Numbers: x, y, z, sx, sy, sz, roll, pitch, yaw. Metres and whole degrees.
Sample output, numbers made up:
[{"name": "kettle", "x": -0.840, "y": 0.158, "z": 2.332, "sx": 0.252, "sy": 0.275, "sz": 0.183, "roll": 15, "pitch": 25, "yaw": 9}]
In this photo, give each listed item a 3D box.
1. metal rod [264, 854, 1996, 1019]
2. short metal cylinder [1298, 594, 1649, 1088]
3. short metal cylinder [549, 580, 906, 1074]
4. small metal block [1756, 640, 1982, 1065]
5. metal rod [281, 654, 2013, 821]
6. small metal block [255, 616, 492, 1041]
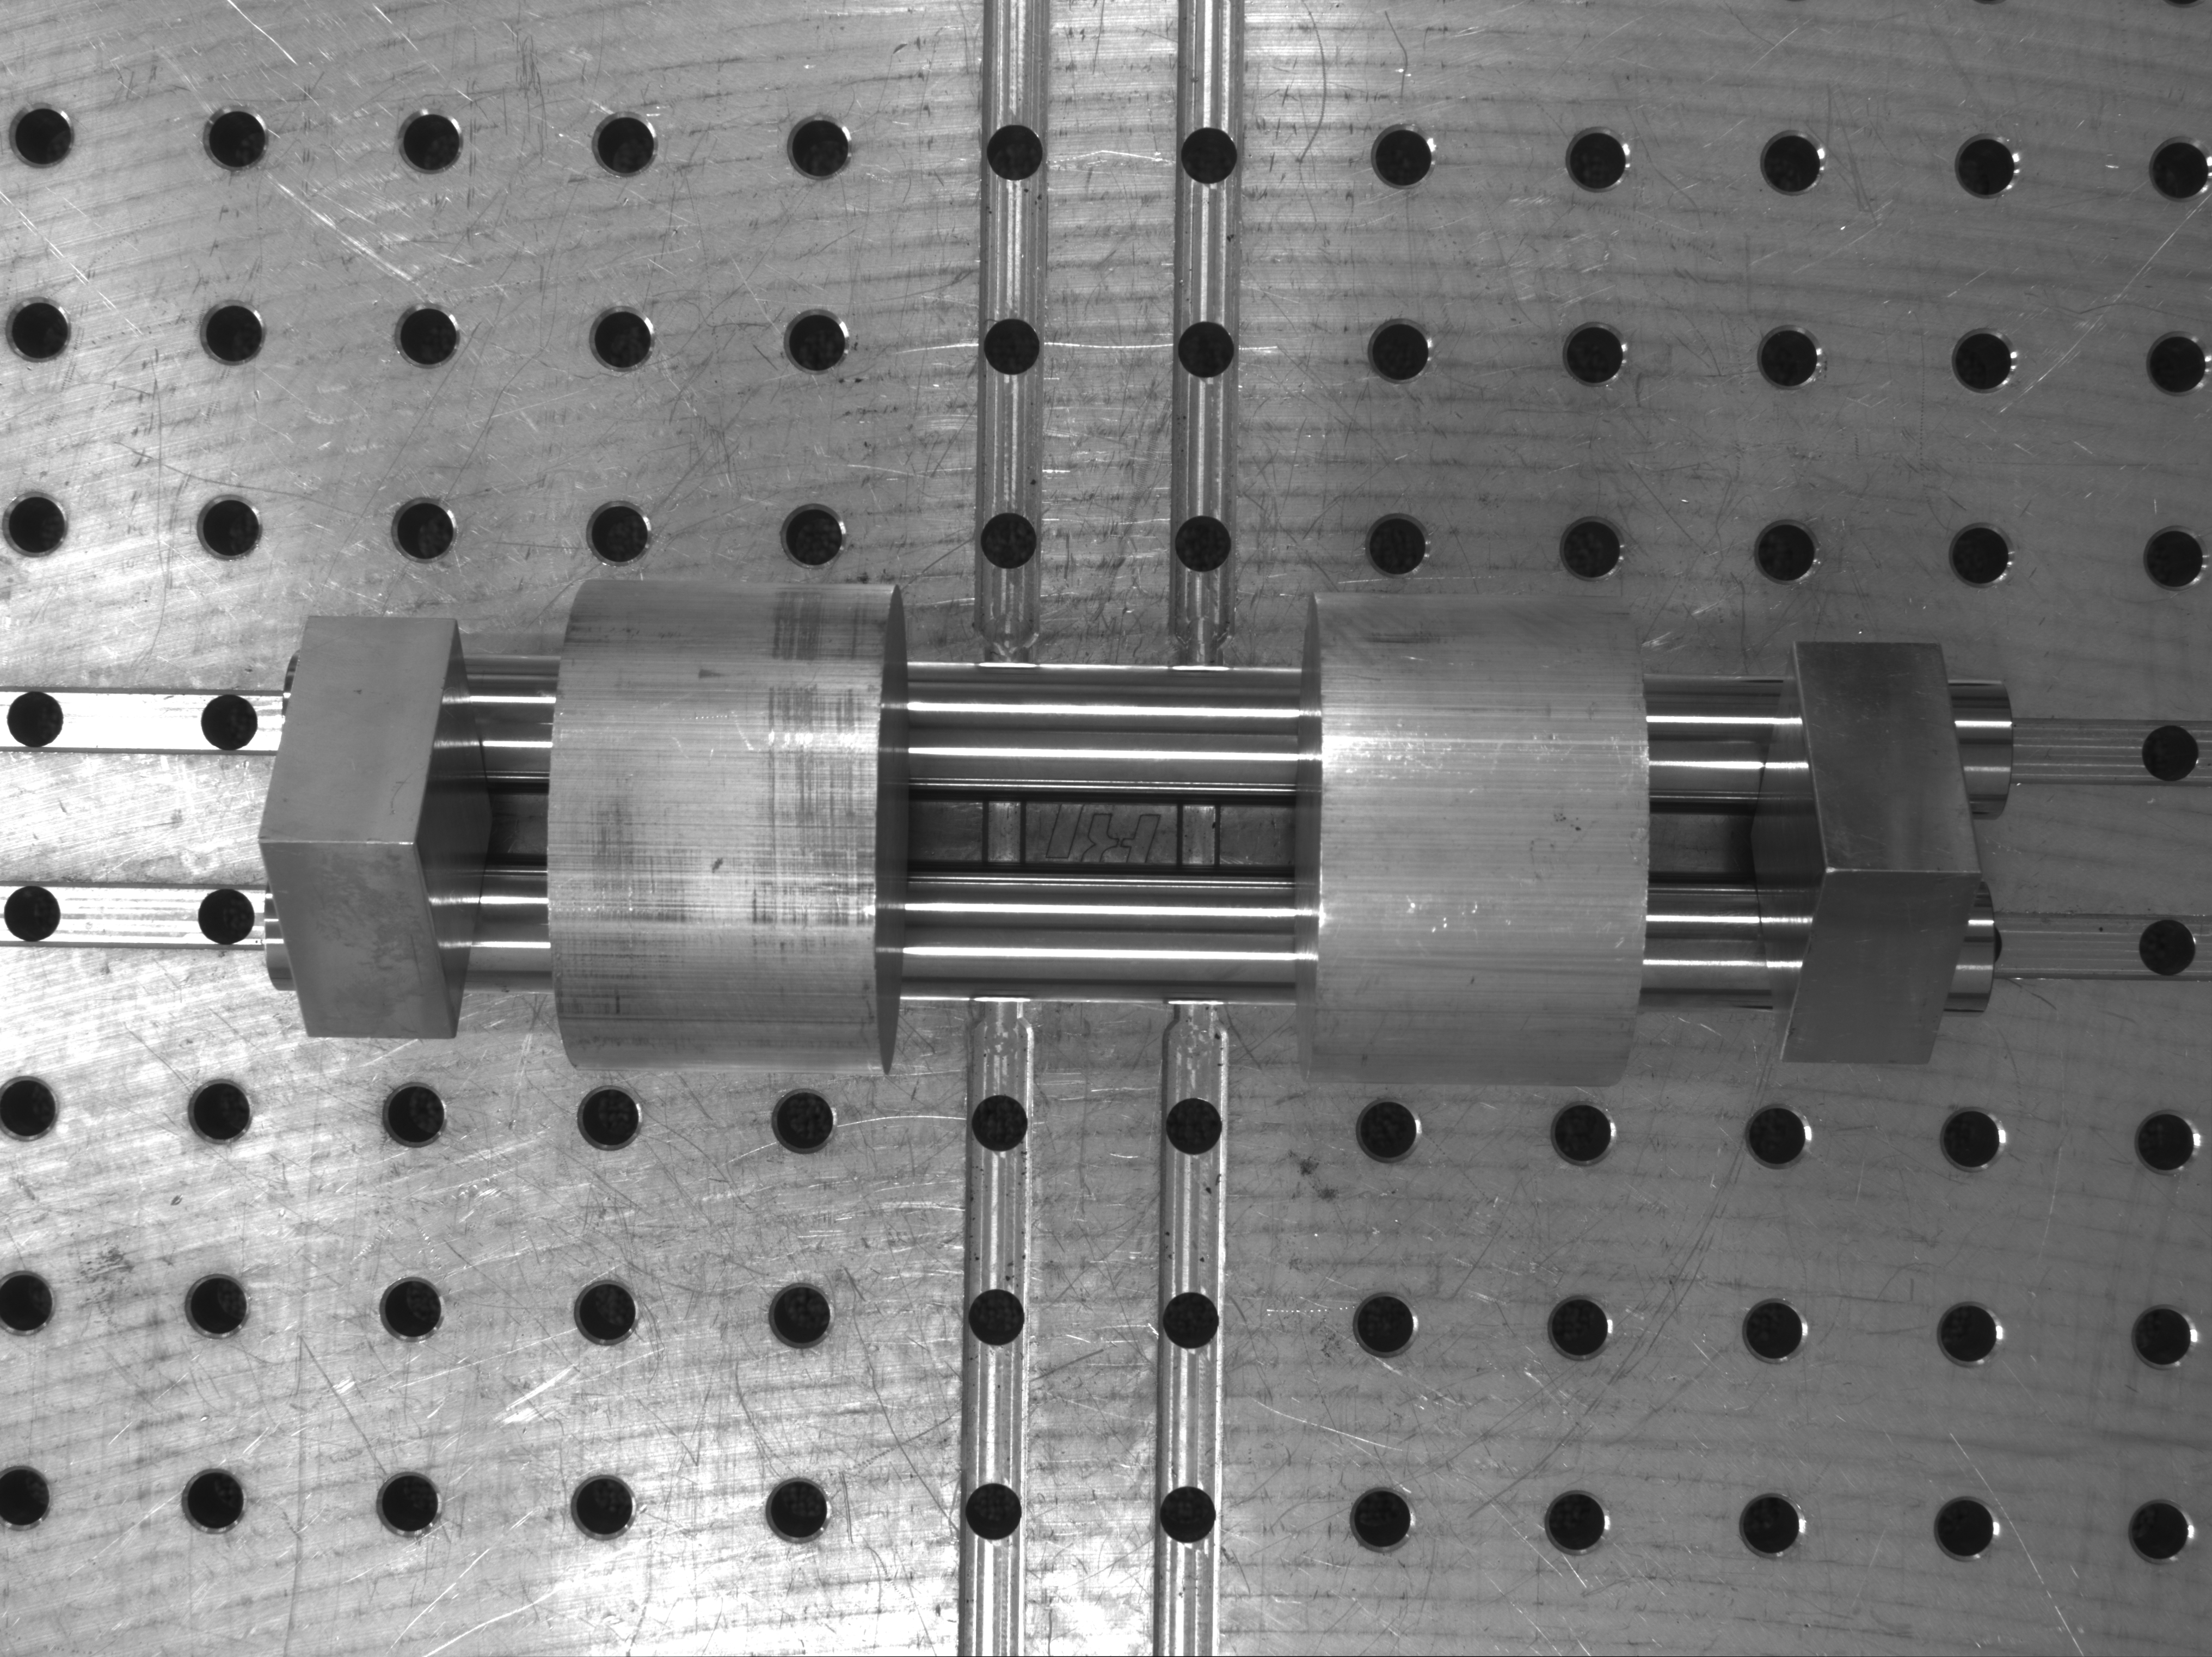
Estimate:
[{"name": "metal rod", "x": 0.004, "y": 0.019, "z": 0.648, "sx": 0.300, "sy": 0.025, "sz": 0.025, "roll": 1, "pitch": 90, "yaw": 0}, {"name": "short metal cylinder", "x": 0.058, "y": 0.002, "z": 0.599, "sx": 0.050, "sy": 0.080, "sz": 0.080, "roll": 1, "pitch": 90, "yaw": 0}, {"name": "short metal cylinder", "x": -0.060, "y": 0.000, "z": 0.599, "sx": 0.050, "sy": 0.080, "sz": 0.080, "roll": 1, "pitch": 90, "yaw": 0}, {"name": "small metal block", "x": 0.126, "y": 0.004, "z": 0.613, "sx": 0.025, "sy": 0.050, "sz": 0.050, "roll": 1, "pitch": 49, "yaw": 1}, {"name": "metal rod", "x": 0.007, "y": -0.016, "z": 0.648, "sx": 0.300, "sy": 0.025, "sz": 0.025, "roll": 1, "pitch": 90, "yaw": 0}, {"name": "small metal block", "x": -0.121, "y": 0.000, "z": 0.613, "sx": 0.025, "sy": 0.050, "sz": 0.050, "roll": 1, "pitch": 48, "yaw": 1}]
